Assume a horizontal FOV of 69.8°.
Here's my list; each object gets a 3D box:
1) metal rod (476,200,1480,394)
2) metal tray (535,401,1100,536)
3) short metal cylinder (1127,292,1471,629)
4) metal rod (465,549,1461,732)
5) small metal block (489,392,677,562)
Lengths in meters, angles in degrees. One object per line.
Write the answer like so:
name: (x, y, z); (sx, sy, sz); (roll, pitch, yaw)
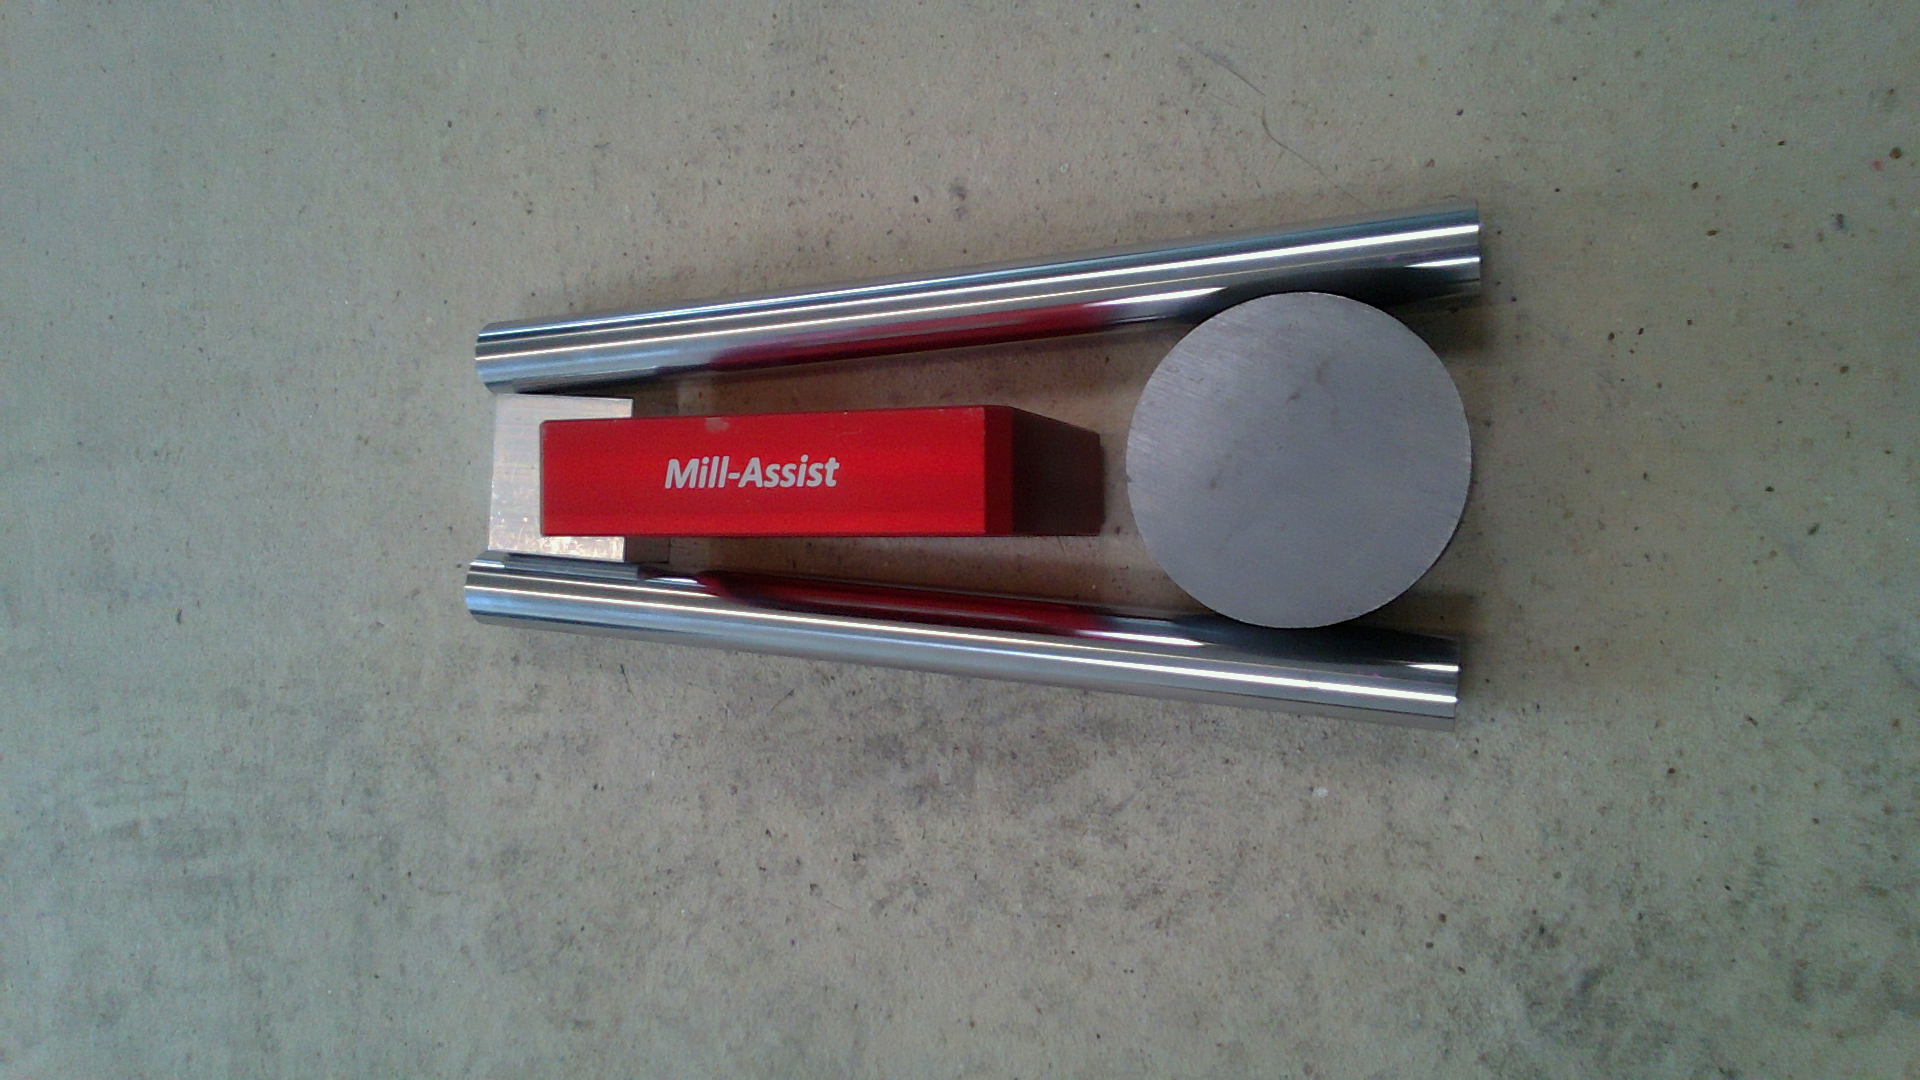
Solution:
metal rod: (-0.009, -0.066, 0.399); (0.299, 0.025, 0.025); (-3, 89, 20)
metal tray: (-0.036, -0.016, 0.373); (0.130, 0.090, 0.030); (0, 90, 20)
short metal cylinder: (0.088, -0.019, 0.351); (0.080, 0.050, 0.080); (0, 90, 20)
metal rod: (-0.014, 0.026, 0.401); (0.299, 0.025, 0.025); (4, 92, 20)
small metal block: (-0.120, -0.020, 0.440); (0.050, 0.025, 0.050); (4, 92, 20)
